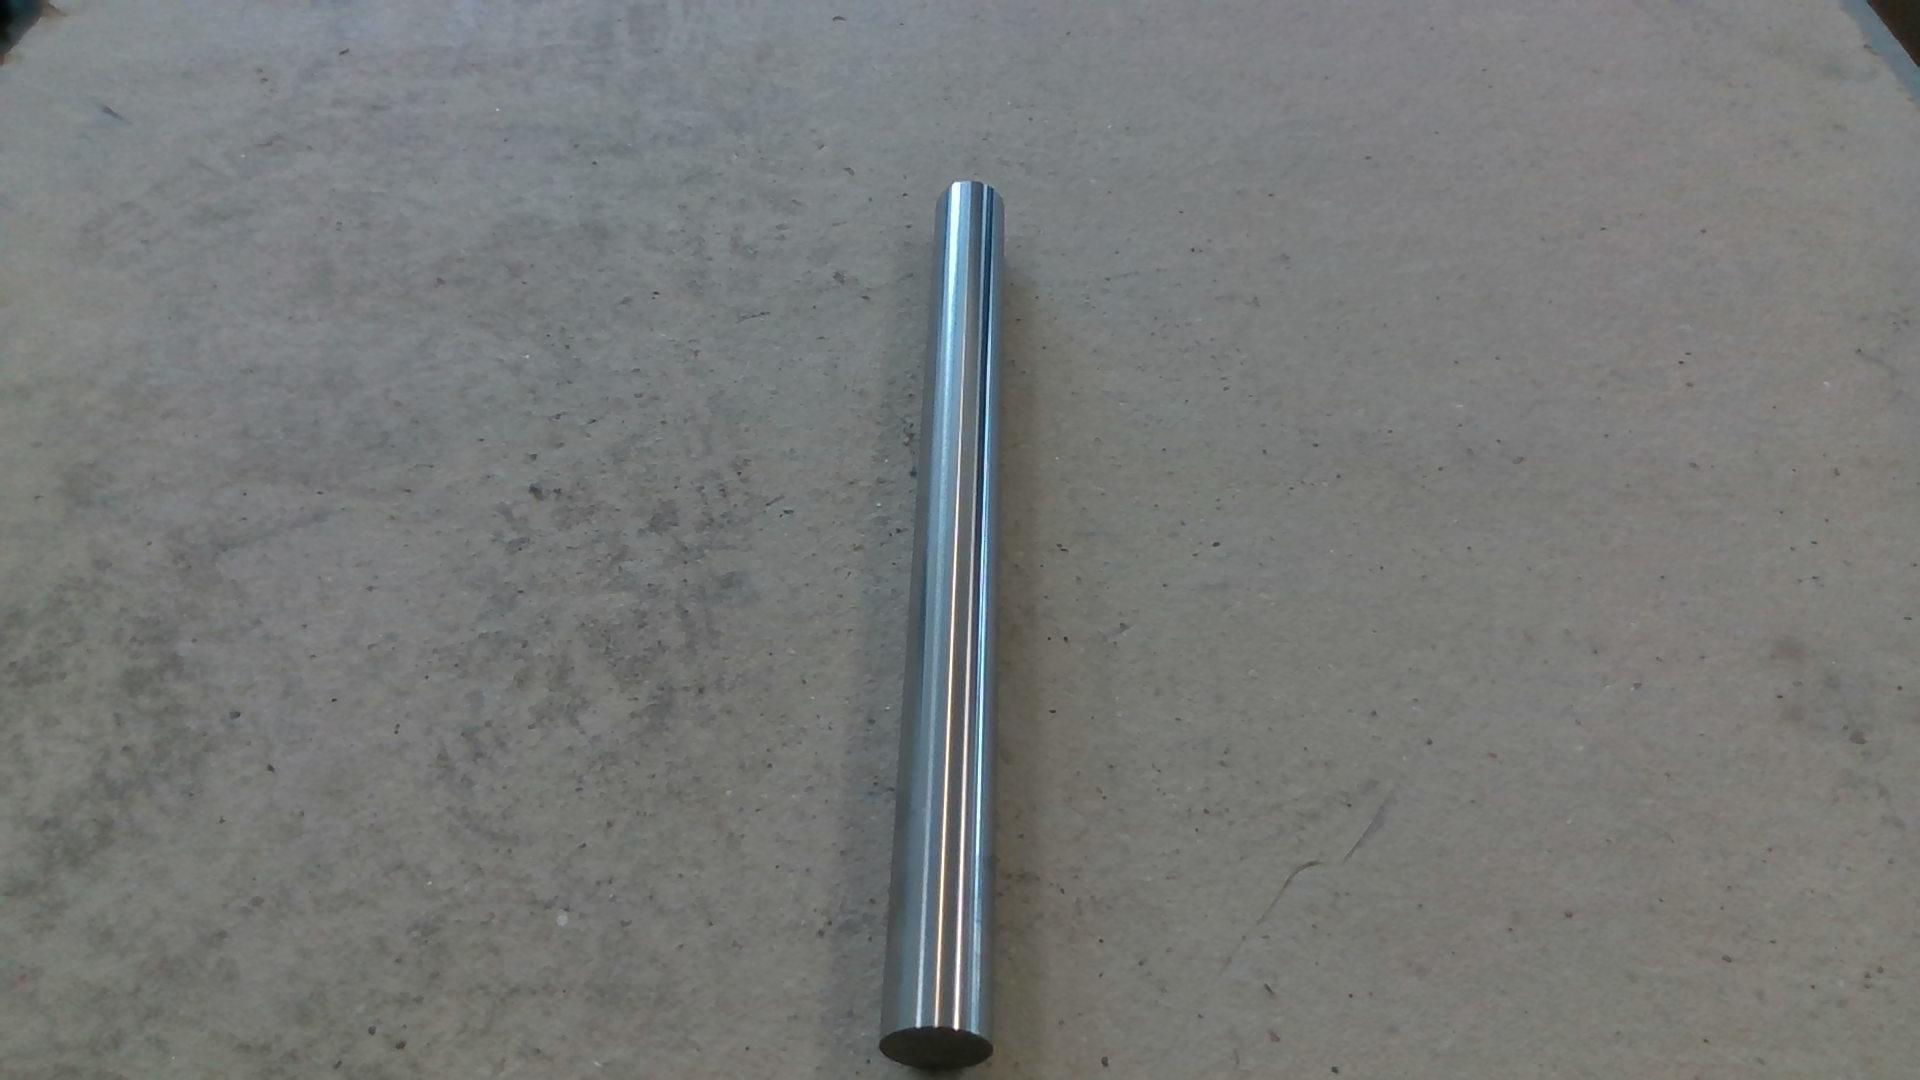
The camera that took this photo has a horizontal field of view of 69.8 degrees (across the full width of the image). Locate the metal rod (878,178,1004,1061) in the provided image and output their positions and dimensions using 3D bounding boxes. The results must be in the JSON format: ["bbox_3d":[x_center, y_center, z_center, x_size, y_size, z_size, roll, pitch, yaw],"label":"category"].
[{"bbox_3d":[-0.001,-0.005,0.398,0.025,0.025,0.299,1,50,1],"label":"metal rod"}]
